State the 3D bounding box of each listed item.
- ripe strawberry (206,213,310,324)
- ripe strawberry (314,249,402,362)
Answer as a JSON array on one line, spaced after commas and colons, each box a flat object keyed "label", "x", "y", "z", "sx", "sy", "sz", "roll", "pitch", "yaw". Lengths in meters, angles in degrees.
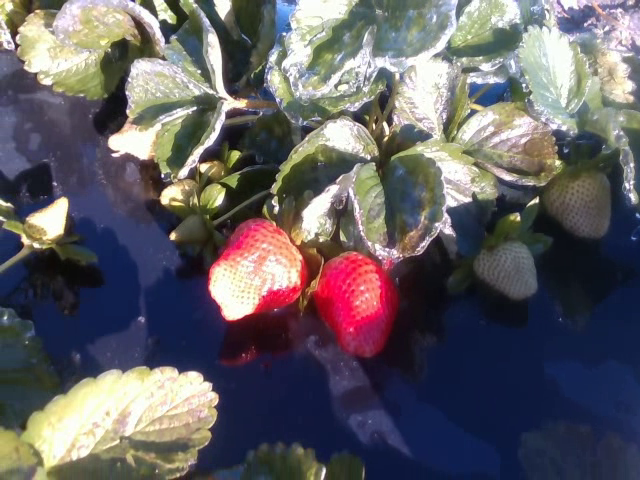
[{"label": "ripe strawberry", "x": -0.034, "y": 0.020, "z": 0.328, "sx": 0.052, "sy": 0.070, "sz": 0.040, "roll": 37, "pitch": -27, "yaw": 6}, {"label": "ripe strawberry", "x": 0.018, "y": 0.029, "z": 0.314, "sx": 0.043, "sy": 0.059, "sz": 0.040, "roll": -9, "pitch": -28, "yaw": -6}]
